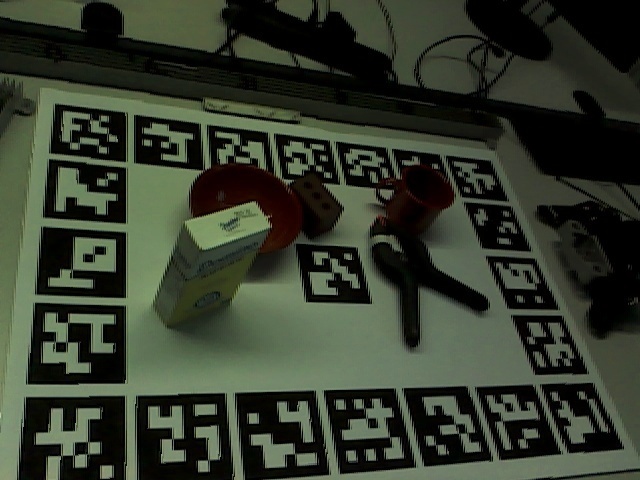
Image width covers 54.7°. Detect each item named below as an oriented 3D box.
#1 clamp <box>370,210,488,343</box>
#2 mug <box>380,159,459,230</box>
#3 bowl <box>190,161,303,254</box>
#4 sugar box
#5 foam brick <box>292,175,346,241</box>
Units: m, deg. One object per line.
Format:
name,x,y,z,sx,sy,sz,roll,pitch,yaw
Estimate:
clamp,0.139,0.039,0.931,0.164,0.037,0.203,-21,66,-32
mug,0.152,-0.075,0.999,0.117,0.081,0.093,25,49,-8
bowl,-0.108,-0.035,0.877,0.161,0.055,0.162,12,51,-16
sugar box,-0.132,0.037,0.732,0.092,0.176,0.045,-22,68,-36
foam brick,-0.008,-0.048,0.940,0.052,0.051,0.078,-25,69,-34
